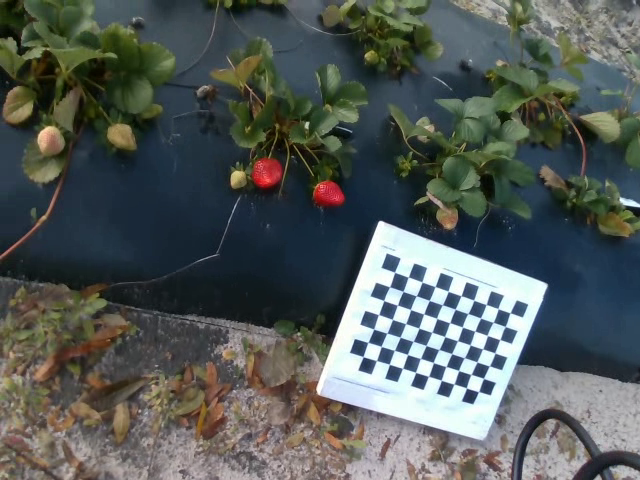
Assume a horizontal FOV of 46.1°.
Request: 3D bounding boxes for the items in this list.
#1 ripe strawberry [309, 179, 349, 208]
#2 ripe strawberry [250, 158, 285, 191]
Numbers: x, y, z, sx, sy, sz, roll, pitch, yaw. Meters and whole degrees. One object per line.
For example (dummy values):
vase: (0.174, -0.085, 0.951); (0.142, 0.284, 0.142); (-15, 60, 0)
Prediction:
ripe strawberry: (0.019, -0.049, 0.764); (0.033, 0.038, 0.039); (28, 12, -38)
ripe strawberry: (-0.044, -0.068, 0.739); (0.035, 0.041, 0.036); (4, 33, -13)
